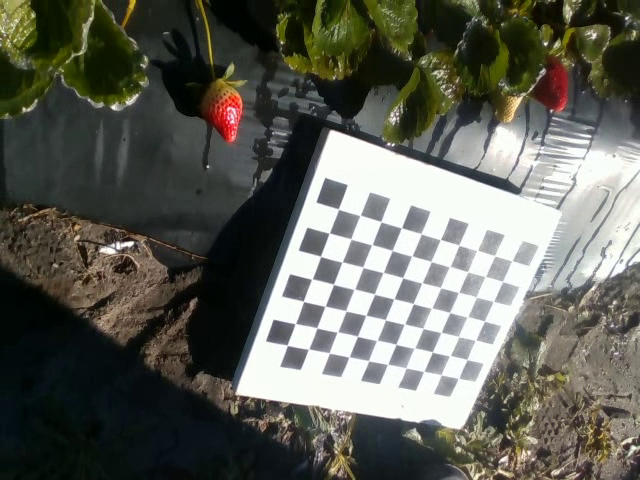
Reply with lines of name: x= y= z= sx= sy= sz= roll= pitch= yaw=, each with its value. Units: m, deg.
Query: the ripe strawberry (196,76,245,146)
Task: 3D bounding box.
ripe strawberry: x=-0.077 y=-0.102 z=0.487 sx=0.039 sy=0.053 sz=0.040 roll=-7 pitch=5 yaw=-17
